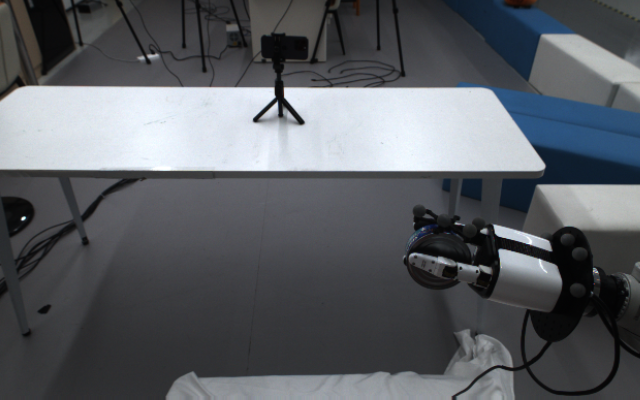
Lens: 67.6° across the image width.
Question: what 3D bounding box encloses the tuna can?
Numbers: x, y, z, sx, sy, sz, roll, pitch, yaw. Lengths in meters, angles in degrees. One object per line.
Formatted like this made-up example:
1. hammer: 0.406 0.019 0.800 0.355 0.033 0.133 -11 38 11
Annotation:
1. tuna can: 0.162 0.073 0.658 0.085 0.085 0.034 5 18 4
